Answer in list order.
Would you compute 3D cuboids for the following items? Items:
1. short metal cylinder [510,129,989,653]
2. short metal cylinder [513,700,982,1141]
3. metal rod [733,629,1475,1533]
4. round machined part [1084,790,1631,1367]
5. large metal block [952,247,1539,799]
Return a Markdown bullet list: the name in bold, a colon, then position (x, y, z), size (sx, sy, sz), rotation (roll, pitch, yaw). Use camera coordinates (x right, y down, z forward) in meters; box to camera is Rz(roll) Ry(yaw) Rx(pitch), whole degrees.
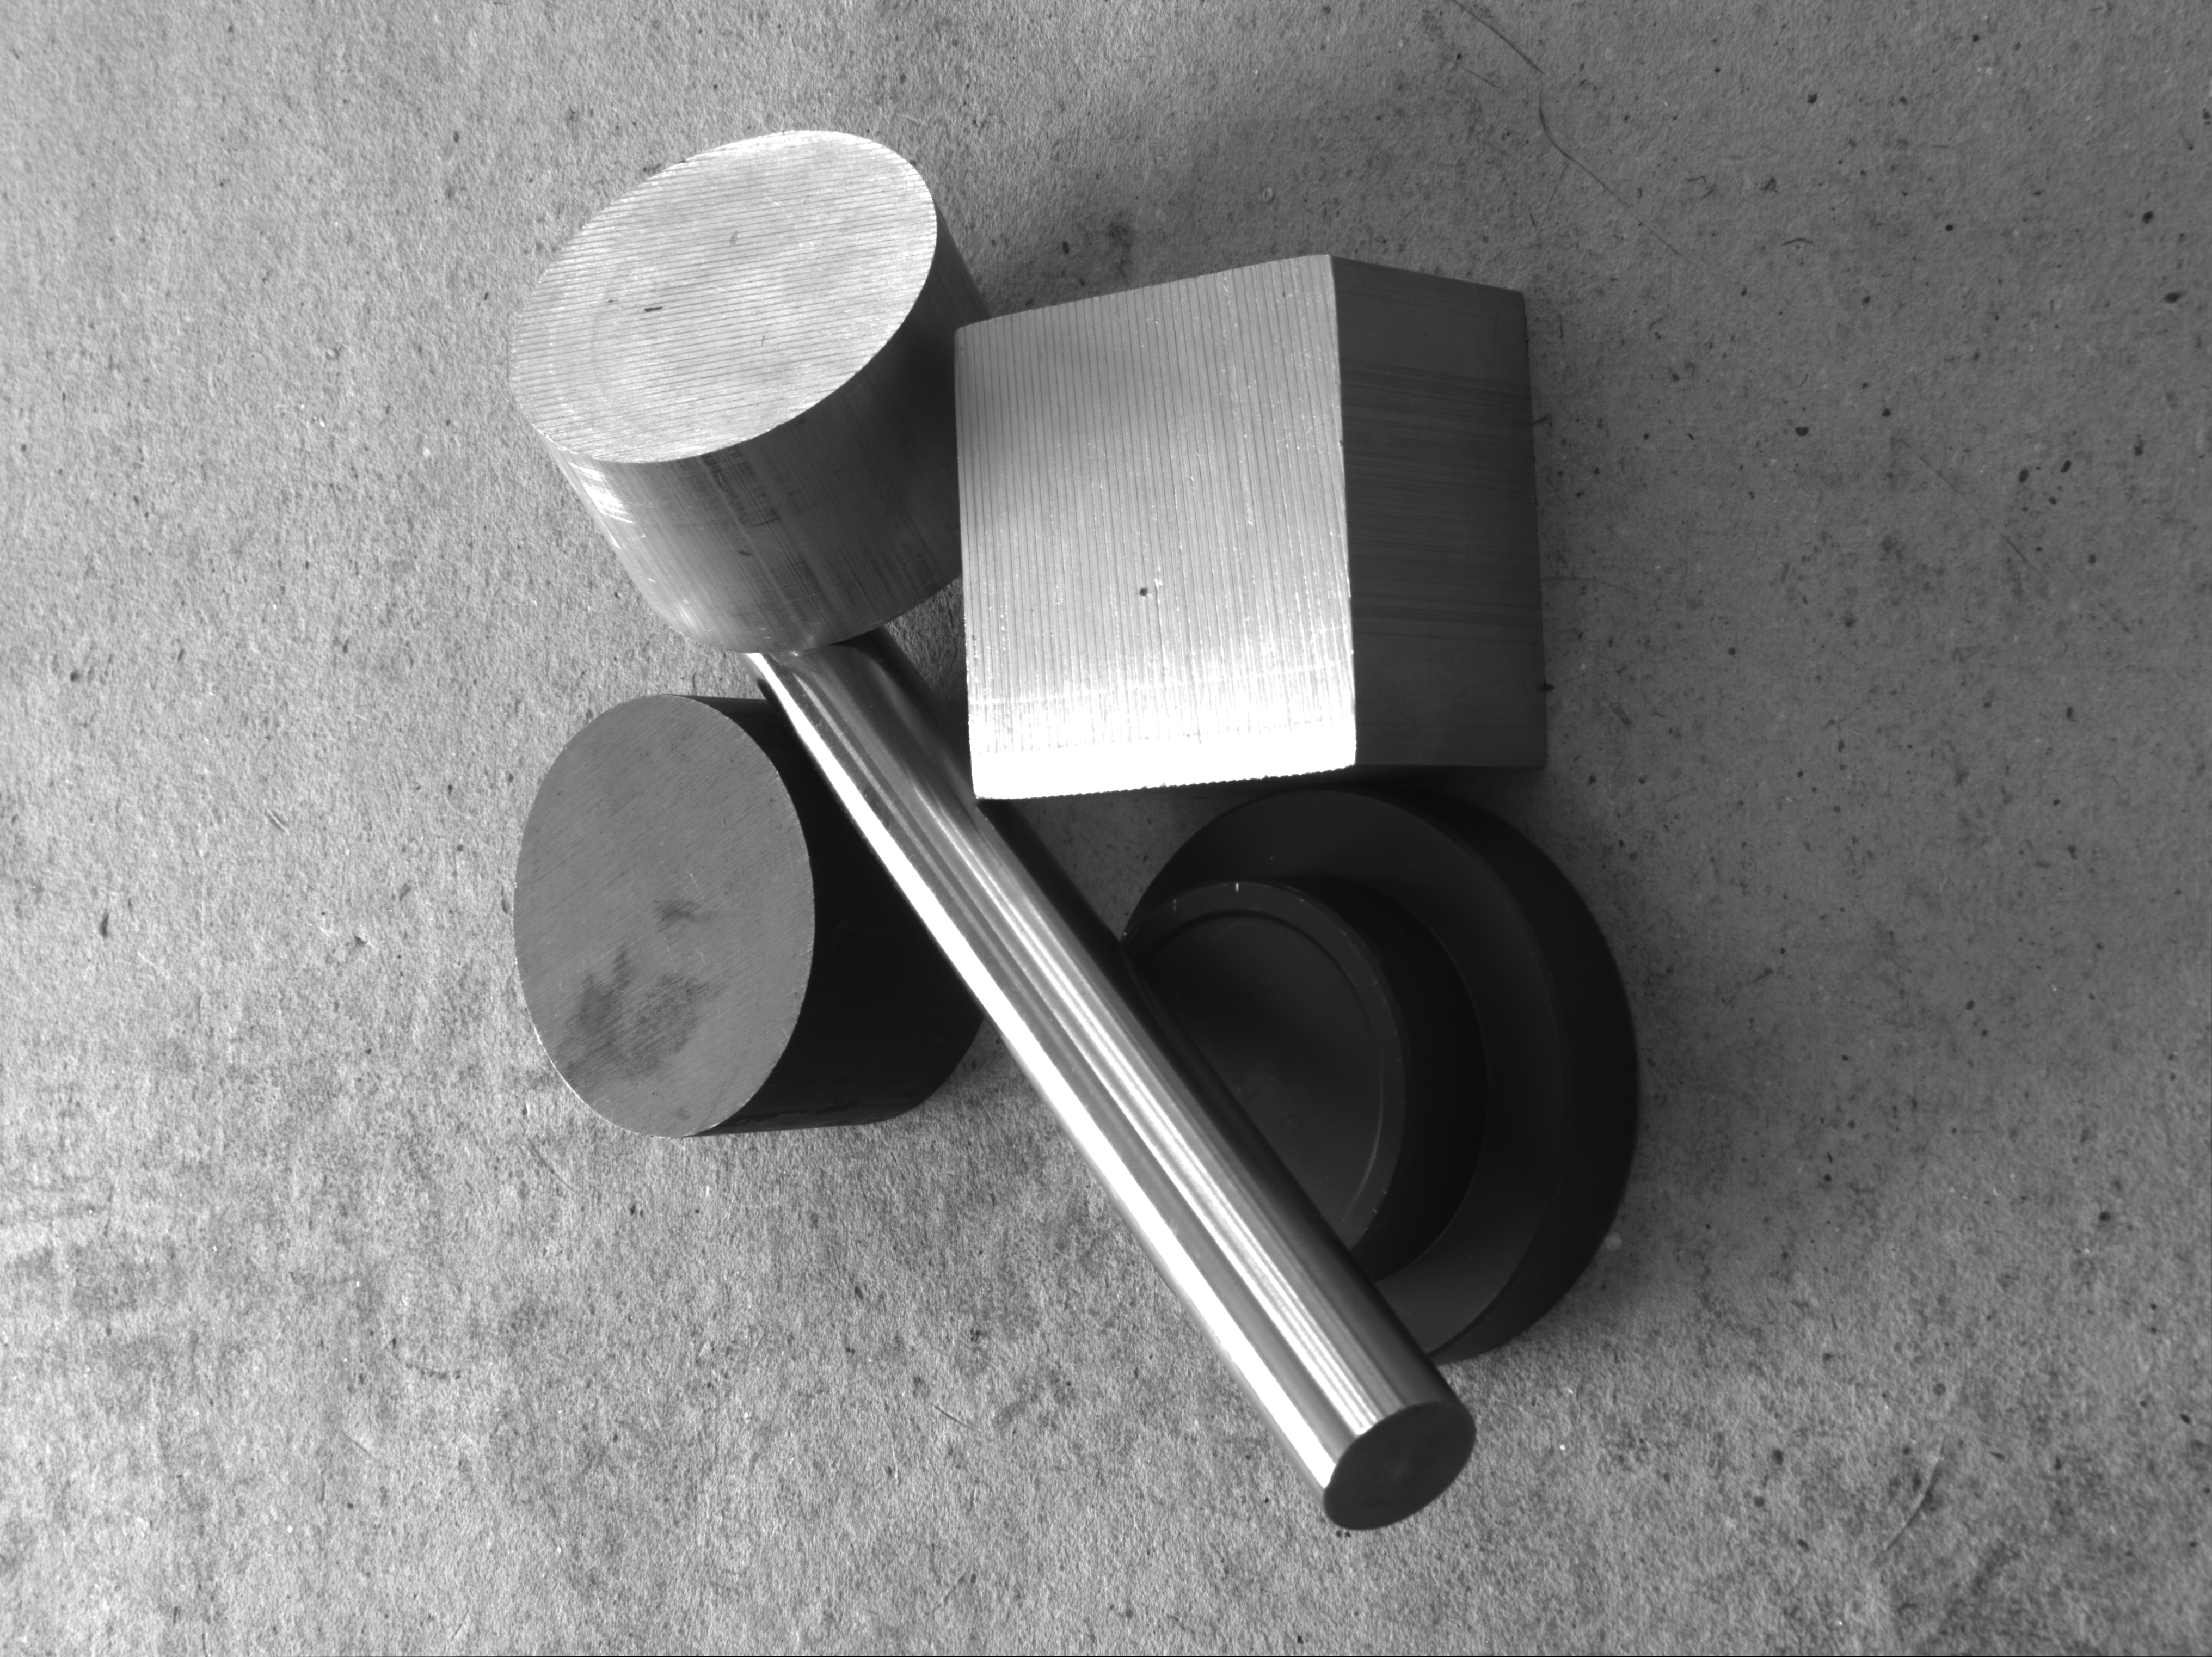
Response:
- **short metal cylinder**: position (-0.059, -0.078, 0.654), size (0.080, 0.050, 0.080), rotation (-12, 49, 14)
- **short metal cylinder**: position (-0.065, 0.017, 0.685), size (0.080, 0.050, 0.080), rotation (0, 90, 40)
- **metal rod**: position (-0.026, 0.004, 0.623), size (0.025, 0.025, 0.299), rotation (-60, 43, 23)
- **round machined part**: position (0.034, 0.043, 0.605), size (0.098, 0.042, 0.098), rotation (0, 90, 40)
- **large metal block**: position (0.023, -0.047, 0.608), size (0.080, 0.050, 0.080), rotation (-4, 87, 40)
